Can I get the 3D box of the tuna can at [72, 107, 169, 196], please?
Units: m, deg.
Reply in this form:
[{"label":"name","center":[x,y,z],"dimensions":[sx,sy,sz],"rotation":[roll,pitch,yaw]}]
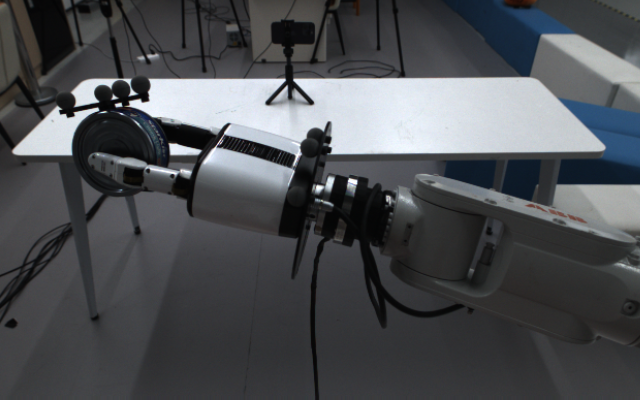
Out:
[{"label":"tuna can","center":[-0.191,-0.042,0.473],"dimensions":[0.085,0.085,0.034],"rotation":[6,18,5]}]
